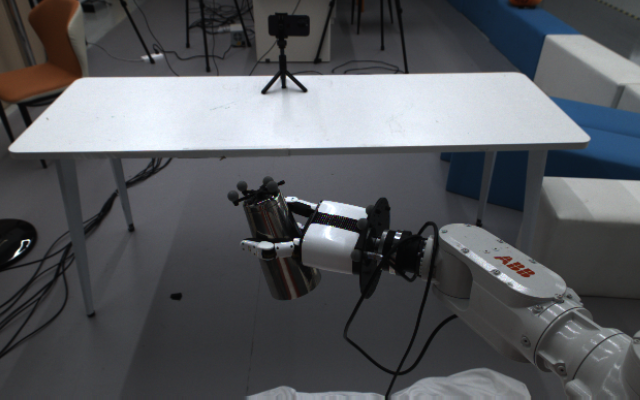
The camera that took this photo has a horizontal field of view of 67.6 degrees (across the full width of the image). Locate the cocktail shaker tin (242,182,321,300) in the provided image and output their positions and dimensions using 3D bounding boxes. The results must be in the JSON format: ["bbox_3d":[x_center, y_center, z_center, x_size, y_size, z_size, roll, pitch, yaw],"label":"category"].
[{"bbox_3d":[-0.068,0.069,0.801,0.093,0.170,0.093,-17,20,7],"label":"cocktail shaker tin"}]
